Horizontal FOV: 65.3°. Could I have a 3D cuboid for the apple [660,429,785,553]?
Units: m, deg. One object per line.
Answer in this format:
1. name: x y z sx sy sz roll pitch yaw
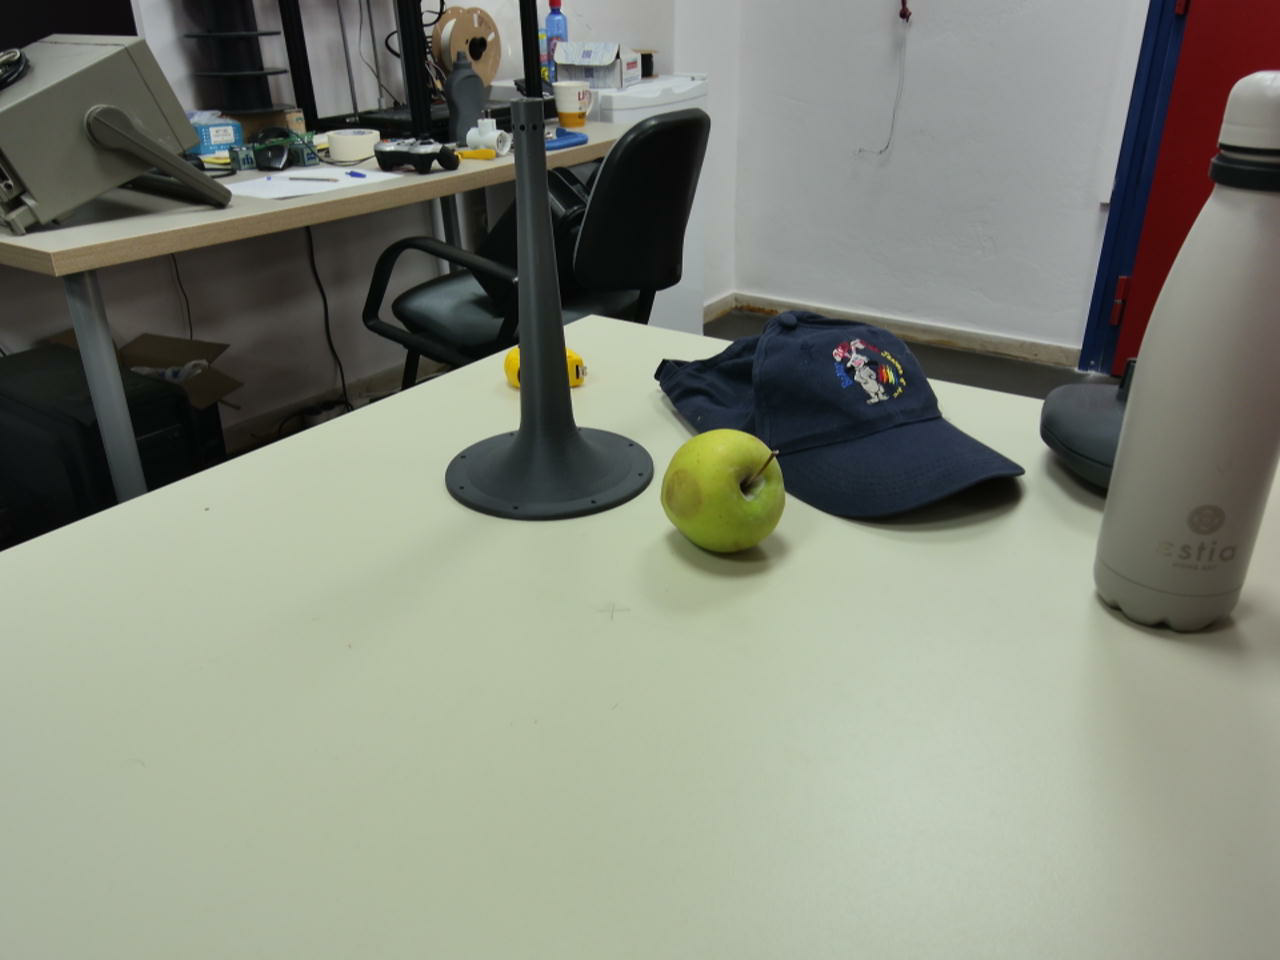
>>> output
1. apple: 0.051 0.005 0.609 0.072 0.075 0.077 -4 25 -9
